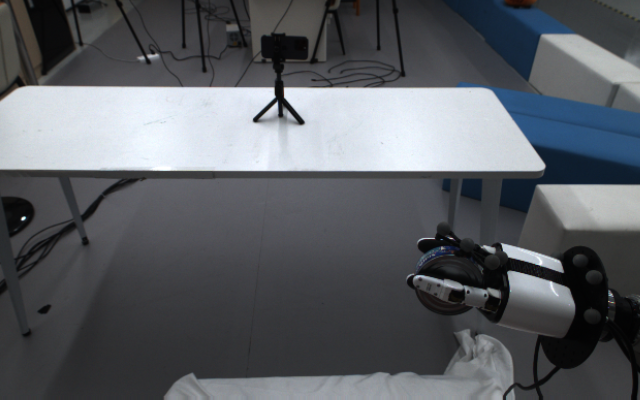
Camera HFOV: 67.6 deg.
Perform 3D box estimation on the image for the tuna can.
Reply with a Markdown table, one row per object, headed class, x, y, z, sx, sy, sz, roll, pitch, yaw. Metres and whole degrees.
| class | x | y | z | sx | sy | sz | roll | pitch | yaw |
| --- | --- | --- | --- | --- | --- | --- | --- | --- | --- |
| tuna can | 0.168 | 0.101 | 0.624 | 0.085 | 0.085 | 0.034 | 7 | 17 | 7 |
